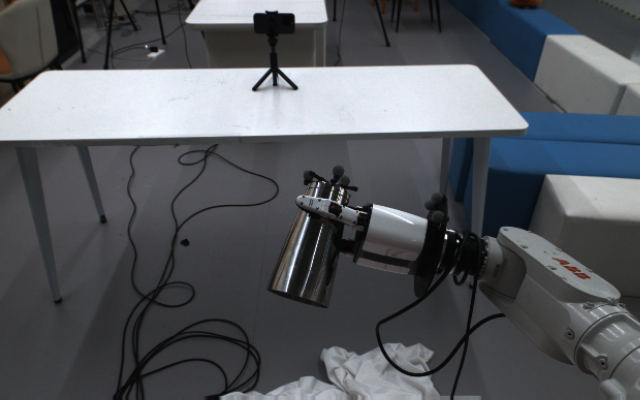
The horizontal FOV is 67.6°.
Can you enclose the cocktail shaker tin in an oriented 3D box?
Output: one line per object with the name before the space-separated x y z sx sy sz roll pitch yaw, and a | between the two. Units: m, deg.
cocktail shaker tin | -0.009 0.060 0.712 0.093 0.093 0.170 12 72 14
